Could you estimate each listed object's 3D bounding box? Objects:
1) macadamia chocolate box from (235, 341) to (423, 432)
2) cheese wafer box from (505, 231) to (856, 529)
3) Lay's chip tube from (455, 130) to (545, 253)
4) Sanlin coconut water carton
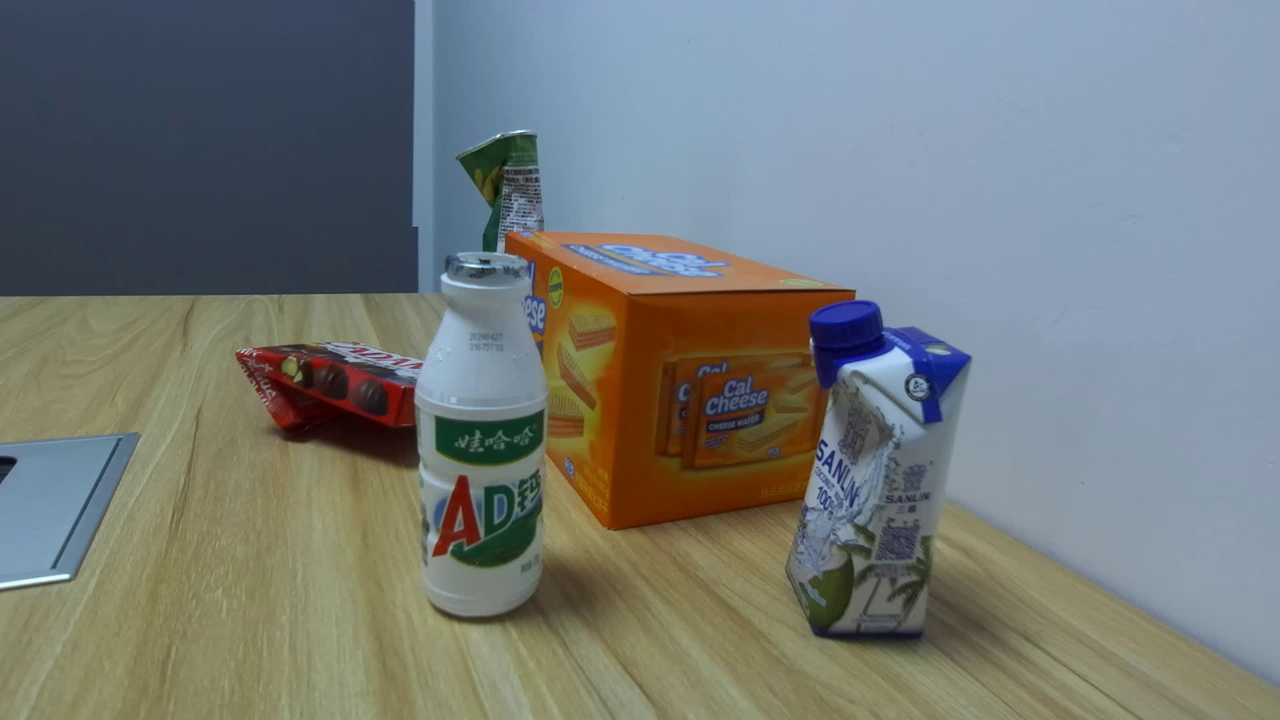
[{"bbox_3d":[-0.178,0.016,0.472,0.126,0.056,0.112,9,17,16],"label":"macadamia chocolate box"},{"bbox_3d":[0.014,-0.006,0.474,0.149,0.129,0.221,-3,18,-22],"label":"cheese wafer box"},{"bbox_3d":[-0.107,-0.089,0.602,0.071,0.199,0.079,-6,18,-3],"label":"Lay's chip tube"},{"bbox_3d":[0.108,0.049,0.334,0.058,0.142,0.078,-3,17,-6],"label":"Sanlin coconut water carton"}]
